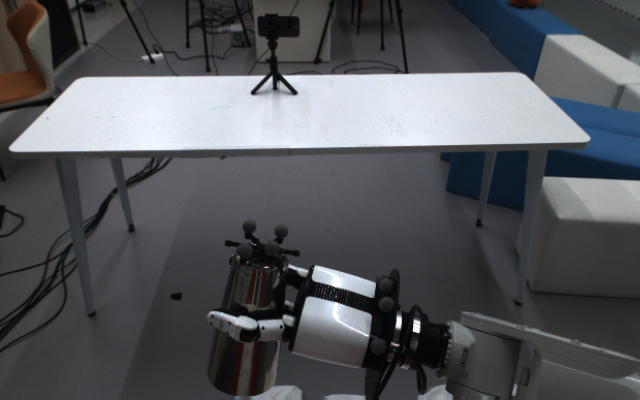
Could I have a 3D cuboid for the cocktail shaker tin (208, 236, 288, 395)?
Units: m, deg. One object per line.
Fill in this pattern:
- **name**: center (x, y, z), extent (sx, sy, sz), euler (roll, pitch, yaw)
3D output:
- **cocktail shaker tin**: center (-0.083, 0.144, 0.601), extent (0.093, 0.170, 0.093), euler (10, 19, -4)
